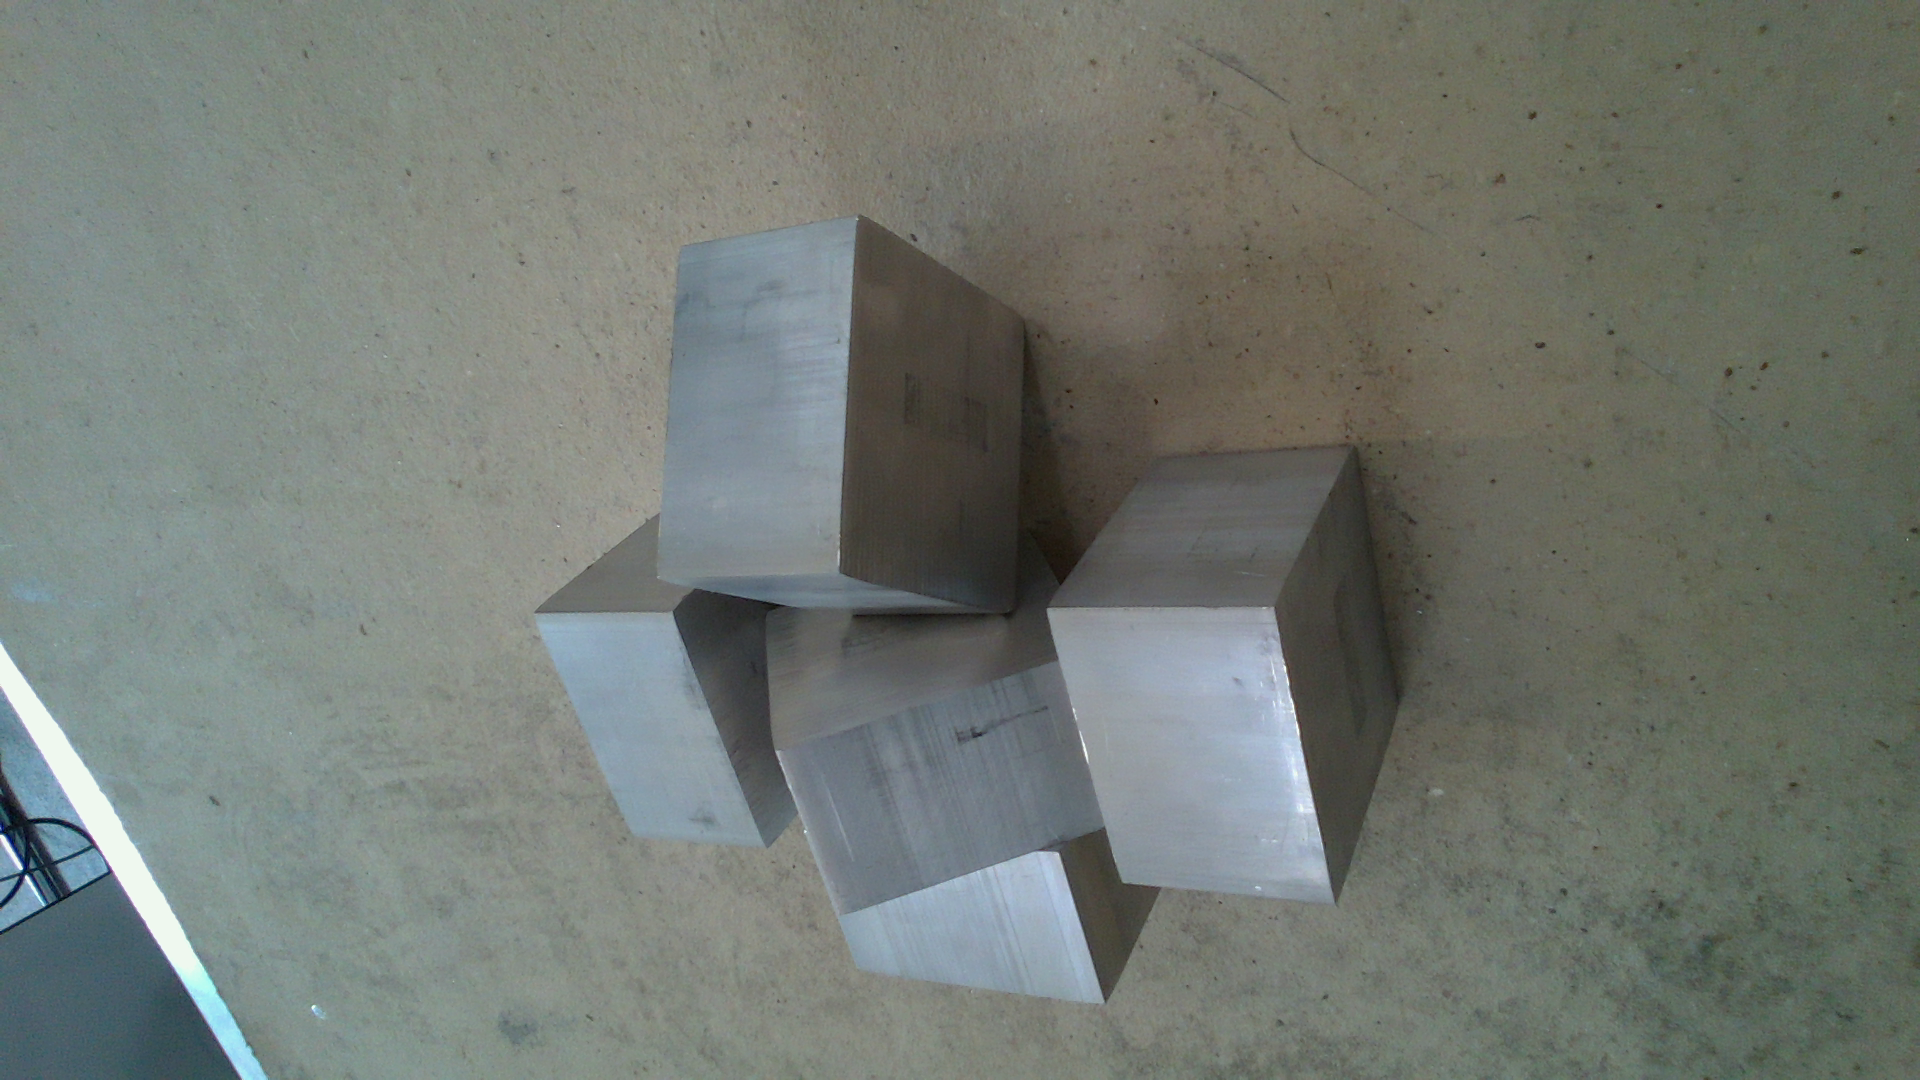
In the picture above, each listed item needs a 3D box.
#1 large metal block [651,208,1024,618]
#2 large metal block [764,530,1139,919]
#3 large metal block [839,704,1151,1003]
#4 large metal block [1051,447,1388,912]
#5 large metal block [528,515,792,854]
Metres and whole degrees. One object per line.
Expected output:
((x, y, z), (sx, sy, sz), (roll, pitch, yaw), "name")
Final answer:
((-0.026, -0.025, 0.337), (0.050, 0.080, 0.080), (-3, 80, 30), "large metal block")
((-0.005, 0.046, 0.370), (0.080, 0.080, 0.050), (-17, 113, -3), "large metal block")
((0.014, 0.082, 0.402), (0.080, 0.080, 0.050), (-3, 117, 30), "large metal block")
((0.069, 0.032, 0.340), (0.050, 0.080, 0.080), (-3, 116, 29), "large metal block")
((-0.071, 0.036, 0.417), (0.050, 0.080, 0.080), (-2, 117, 29), "large metal block")
